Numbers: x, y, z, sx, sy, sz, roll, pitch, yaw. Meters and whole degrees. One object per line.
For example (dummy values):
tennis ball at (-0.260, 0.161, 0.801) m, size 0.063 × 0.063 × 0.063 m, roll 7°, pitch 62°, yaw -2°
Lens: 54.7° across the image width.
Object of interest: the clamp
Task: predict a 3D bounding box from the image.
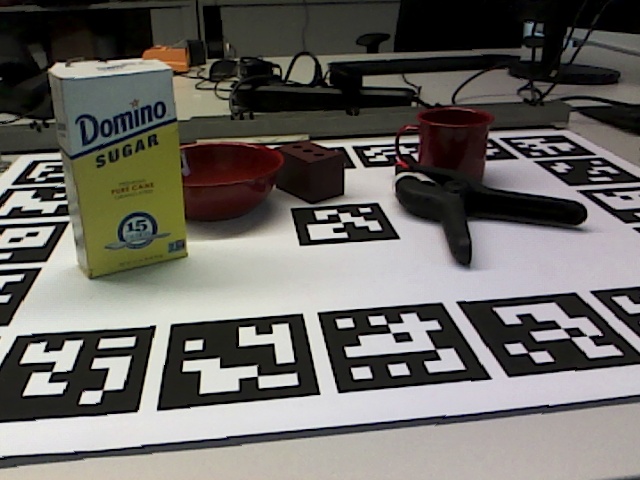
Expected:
clamp at (0.141, -0.043, 0.669) m, size 0.164 × 0.036 × 0.204 m, roll -18°, pitch 34°, yaw -26°

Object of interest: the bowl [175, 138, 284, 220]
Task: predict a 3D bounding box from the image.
bowl at (-0.121, -0.066, 0.702) m, size 0.161 × 0.055 × 0.162 m, roll 1°, pitch 28°, yaw -1°

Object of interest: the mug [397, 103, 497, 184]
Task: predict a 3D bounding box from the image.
mug at (0.155, -0.121, 0.776) m, size 0.117 × 0.081 × 0.093 m, roll 12°, pitch 30°, yaw 14°

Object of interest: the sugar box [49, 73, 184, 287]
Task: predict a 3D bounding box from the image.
sugar box at (-0.174, -0.052, 0.549) m, size 0.092 × 0.176 × 0.045 m, roll -16°, pitch 34°, yaw -30°

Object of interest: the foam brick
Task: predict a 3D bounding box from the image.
foam brick at (-0.010, -0.079, 0.744) m, size 0.052 × 0.051 × 0.078 m, roll -19°, pitch 35°, yaw -30°
